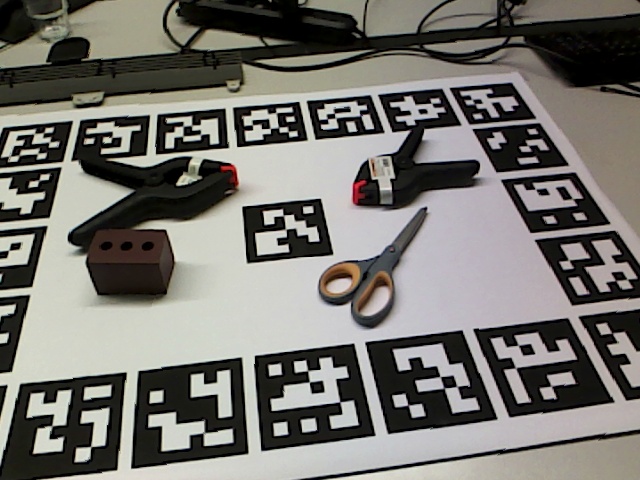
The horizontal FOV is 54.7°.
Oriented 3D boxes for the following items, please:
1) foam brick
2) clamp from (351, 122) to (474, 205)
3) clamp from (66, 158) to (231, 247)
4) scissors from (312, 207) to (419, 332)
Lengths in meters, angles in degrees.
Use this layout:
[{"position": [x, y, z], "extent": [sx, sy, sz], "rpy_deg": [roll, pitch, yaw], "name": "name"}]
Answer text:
[{"position": [-0.212, 0.030, 0.695], "extent": [0.078, 0.051, 0.053], "rpy_deg": [-4, 47, 3], "name": "foam brick"}, {"position": [0.108, -0.092, 0.822], "extent": [0.164, 0.036, 0.122], "rpy_deg": [-29, 58, -24], "name": "clamp"}, {"position": [-0.216, -0.064, 0.796], "extent": [0.202, 0.036, 0.166], "rpy_deg": [-9, 43, -9], "name": "clamp"}, {"position": [0.068, 0.020, 0.717], "extent": [0.088, 0.016, 0.202], "rpy_deg": [27, 50, 16], "name": "scissors"}]
